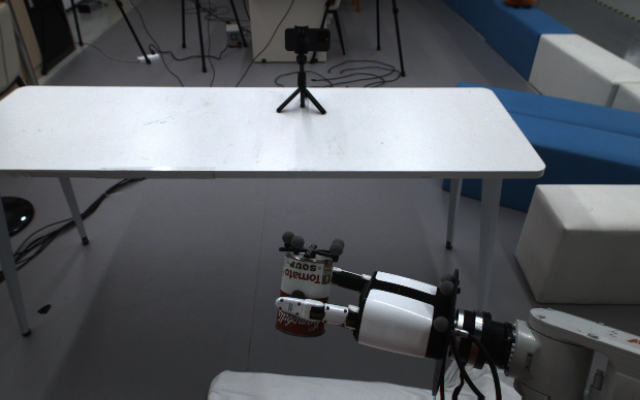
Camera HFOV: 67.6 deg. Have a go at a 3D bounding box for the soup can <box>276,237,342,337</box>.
[{"bbox_3d":[-0.018,0.122,0.645,0.067,0.101,0.067,7,4,0],"label":"soup can"}]
